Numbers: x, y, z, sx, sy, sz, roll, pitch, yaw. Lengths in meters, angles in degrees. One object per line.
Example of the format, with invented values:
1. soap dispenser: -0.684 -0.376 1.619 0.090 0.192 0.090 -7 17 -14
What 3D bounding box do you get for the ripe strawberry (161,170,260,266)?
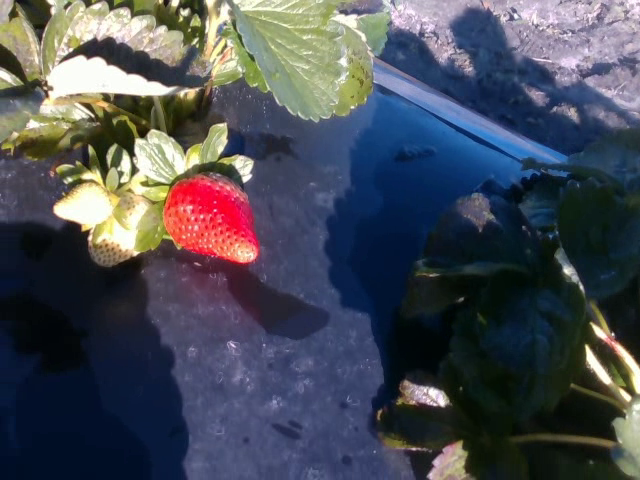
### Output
1. ripe strawberry: -0.045 -0.006 0.296 0.064 0.050 0.052 38 1 34
